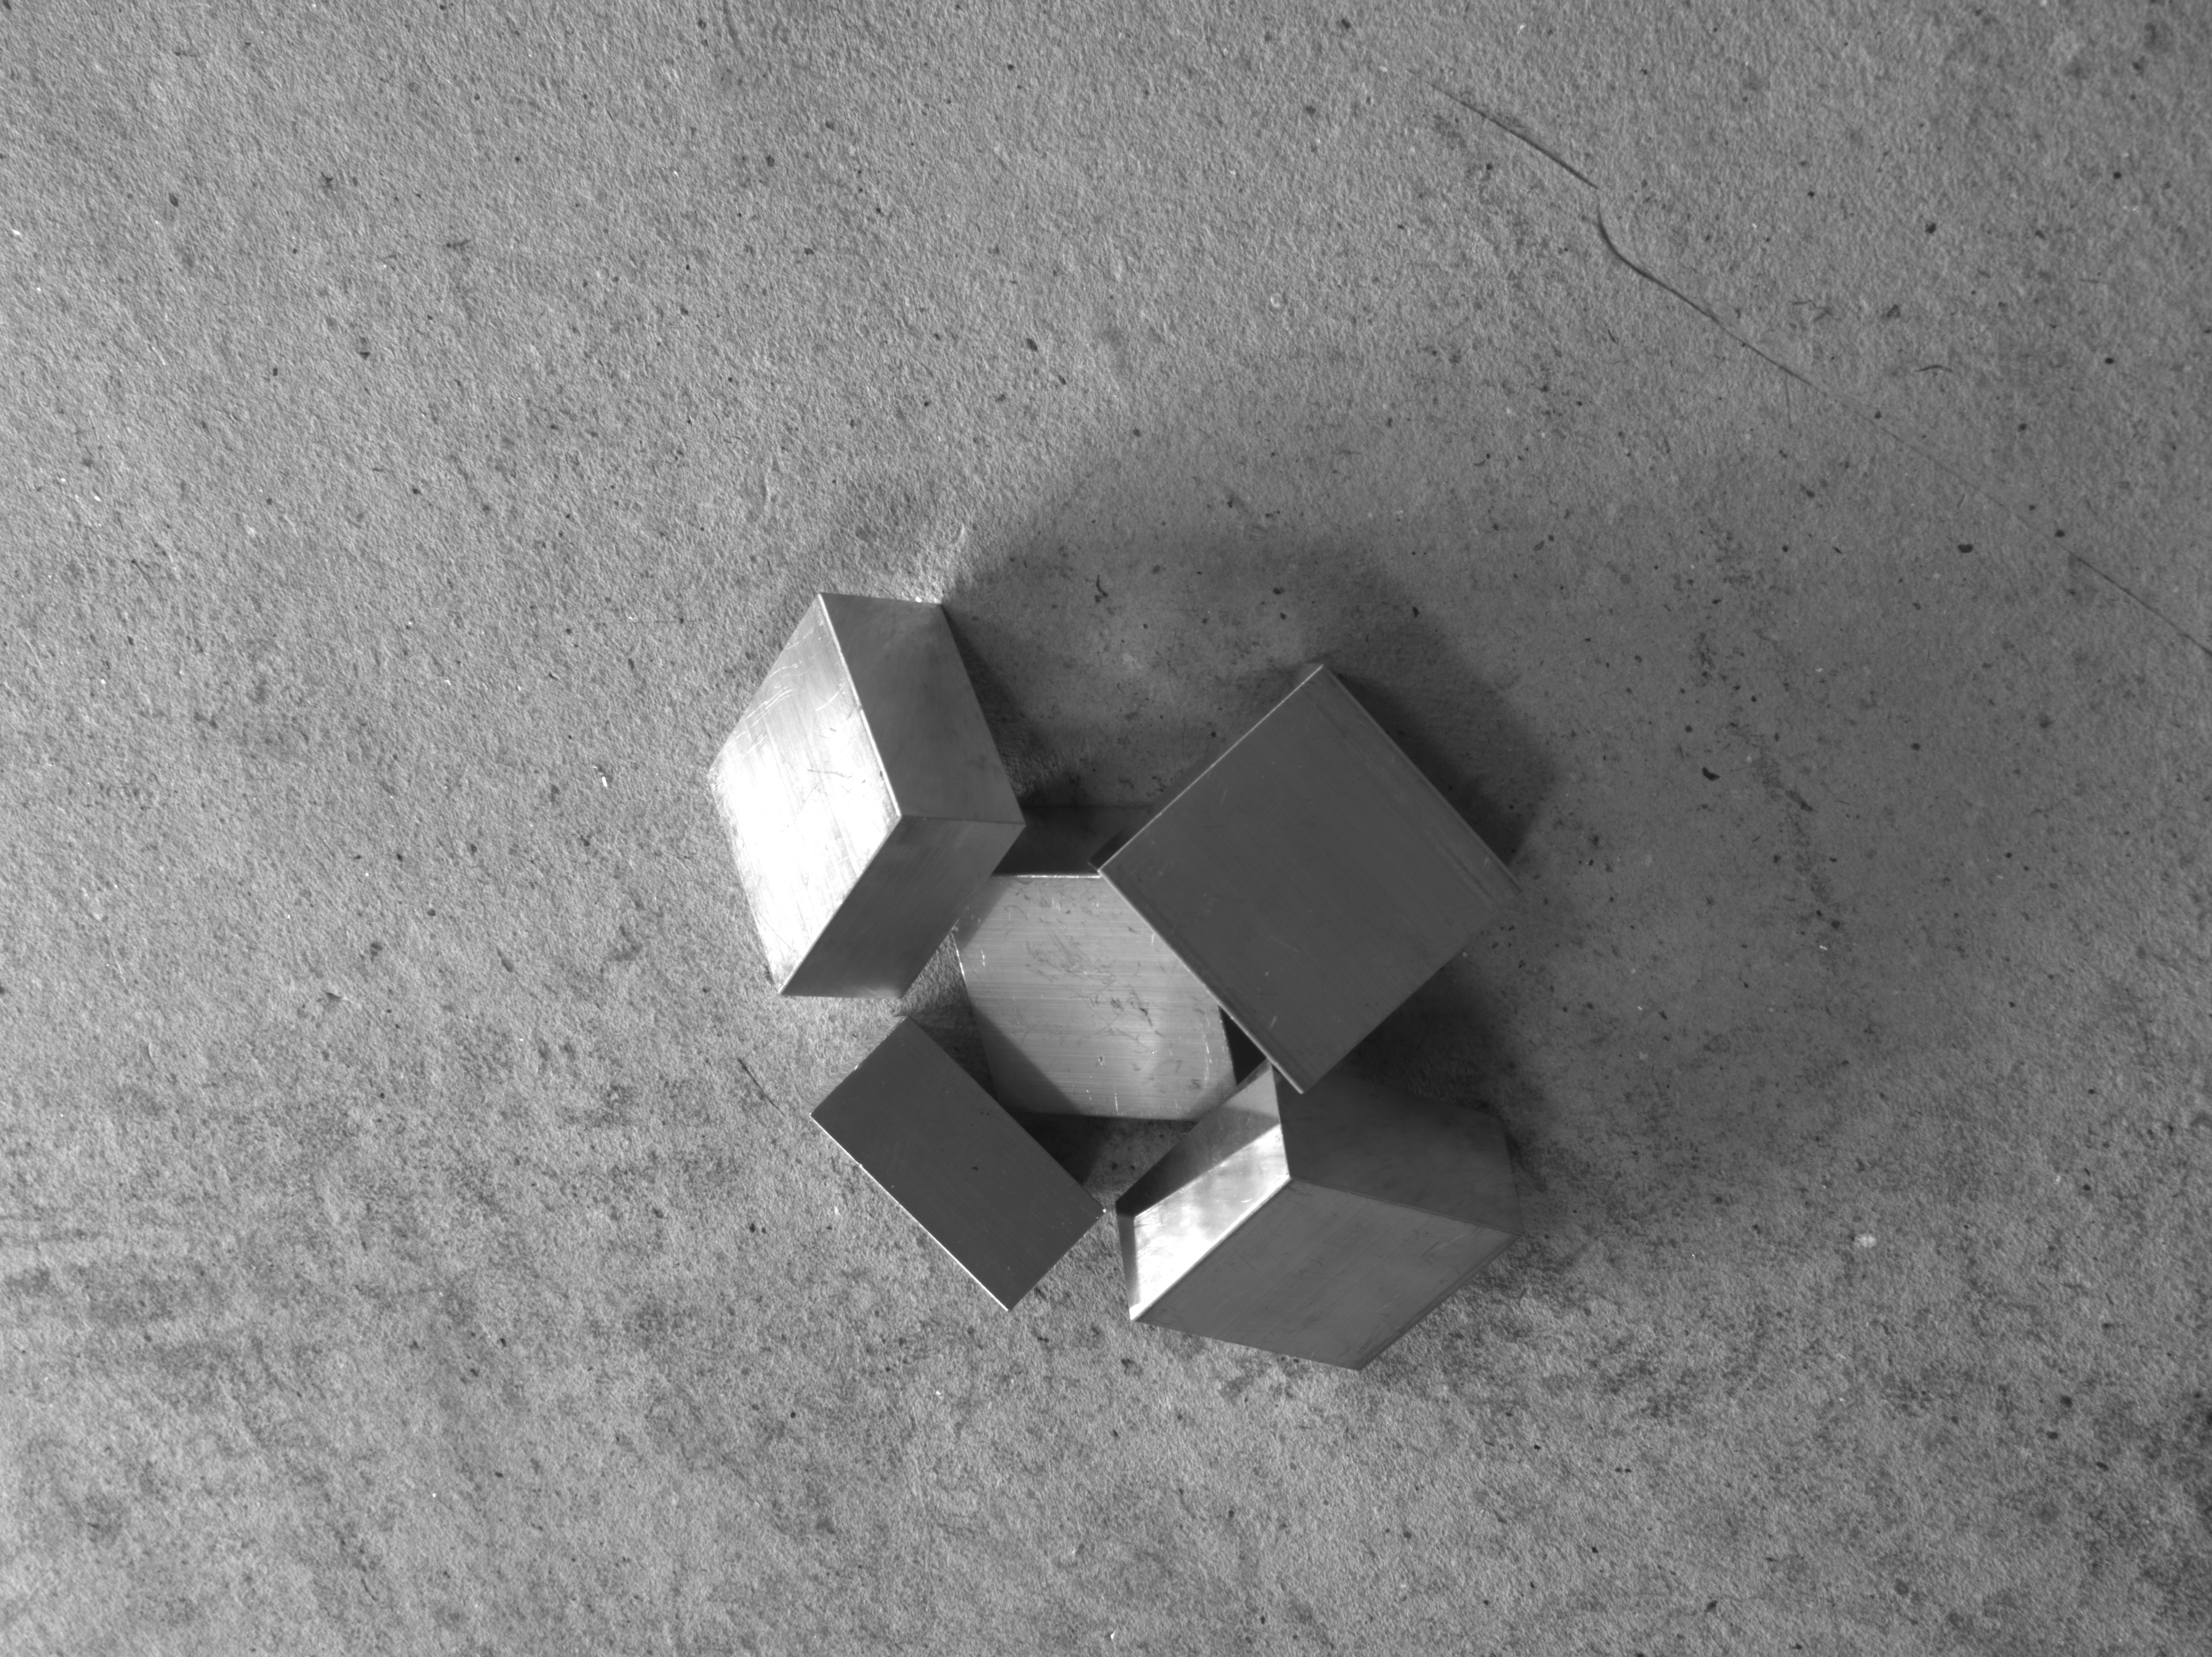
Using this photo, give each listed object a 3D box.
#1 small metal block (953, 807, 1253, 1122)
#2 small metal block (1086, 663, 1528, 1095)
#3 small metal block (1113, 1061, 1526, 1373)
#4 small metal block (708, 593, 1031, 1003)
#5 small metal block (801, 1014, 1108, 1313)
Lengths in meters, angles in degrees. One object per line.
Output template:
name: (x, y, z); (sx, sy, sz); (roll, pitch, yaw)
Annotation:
small metal block: (0.003, 0.024, 0.656); (0.050, 0.025, 0.050); (-1, 118, 27)
small metal block: (0.033, 0.008, 0.614); (0.050, 0.025, 0.050); (-43, 96, -2)
small metal block: (0.037, 0.069, 0.649); (0.050, 0.025, 0.050); (16, 136, -29)
small metal block: (-0.042, -0.005, 0.646); (0.050, 0.025, 0.050); (-53, 46, 39)
small metal block: (-0.029, 0.061, 0.678); (0.050, 0.025, 0.050); (45, 173, -2)
